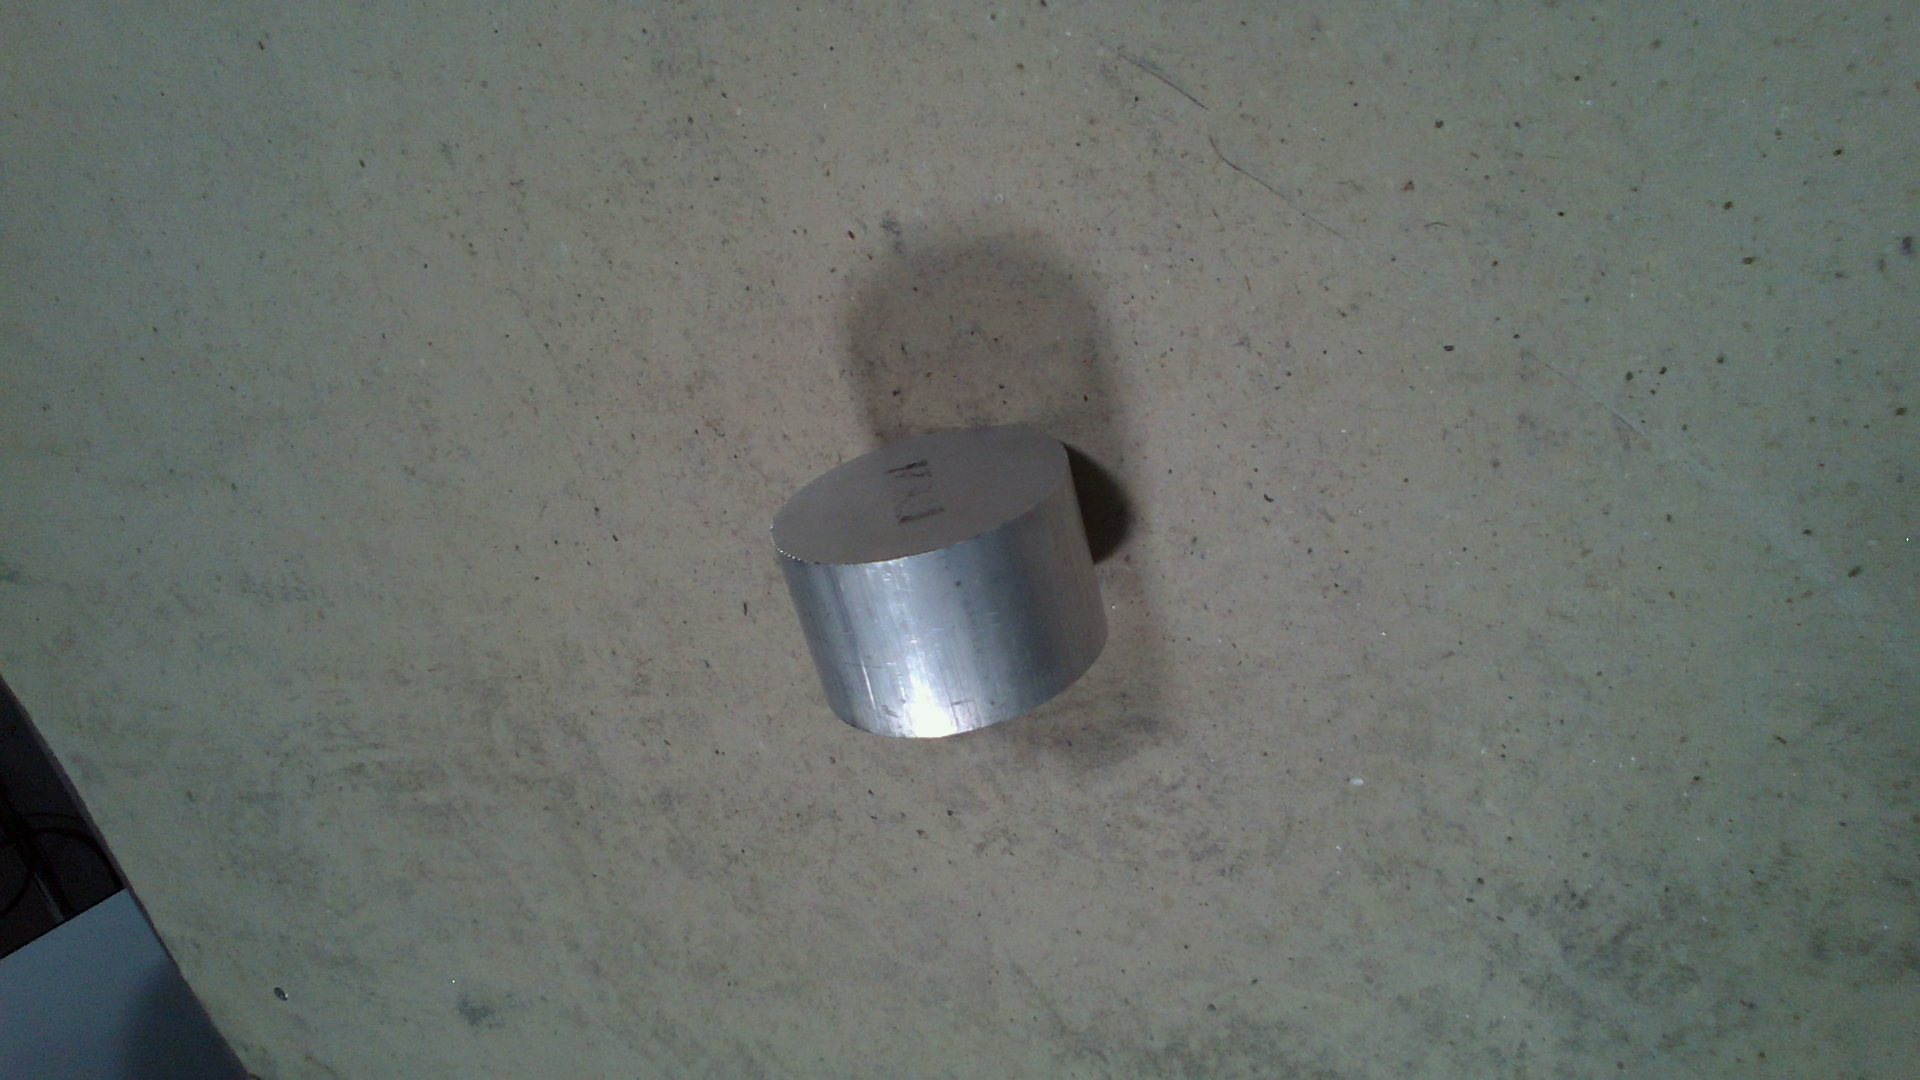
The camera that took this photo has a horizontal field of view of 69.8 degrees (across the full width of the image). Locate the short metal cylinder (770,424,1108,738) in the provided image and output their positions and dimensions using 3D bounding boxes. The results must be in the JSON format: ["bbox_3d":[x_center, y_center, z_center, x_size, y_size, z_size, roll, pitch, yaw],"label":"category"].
[{"bbox_3d":[-0.005,0.009,0.366,0.080,0.080,0.050,-1,118,29],"label":"short metal cylinder"}]
